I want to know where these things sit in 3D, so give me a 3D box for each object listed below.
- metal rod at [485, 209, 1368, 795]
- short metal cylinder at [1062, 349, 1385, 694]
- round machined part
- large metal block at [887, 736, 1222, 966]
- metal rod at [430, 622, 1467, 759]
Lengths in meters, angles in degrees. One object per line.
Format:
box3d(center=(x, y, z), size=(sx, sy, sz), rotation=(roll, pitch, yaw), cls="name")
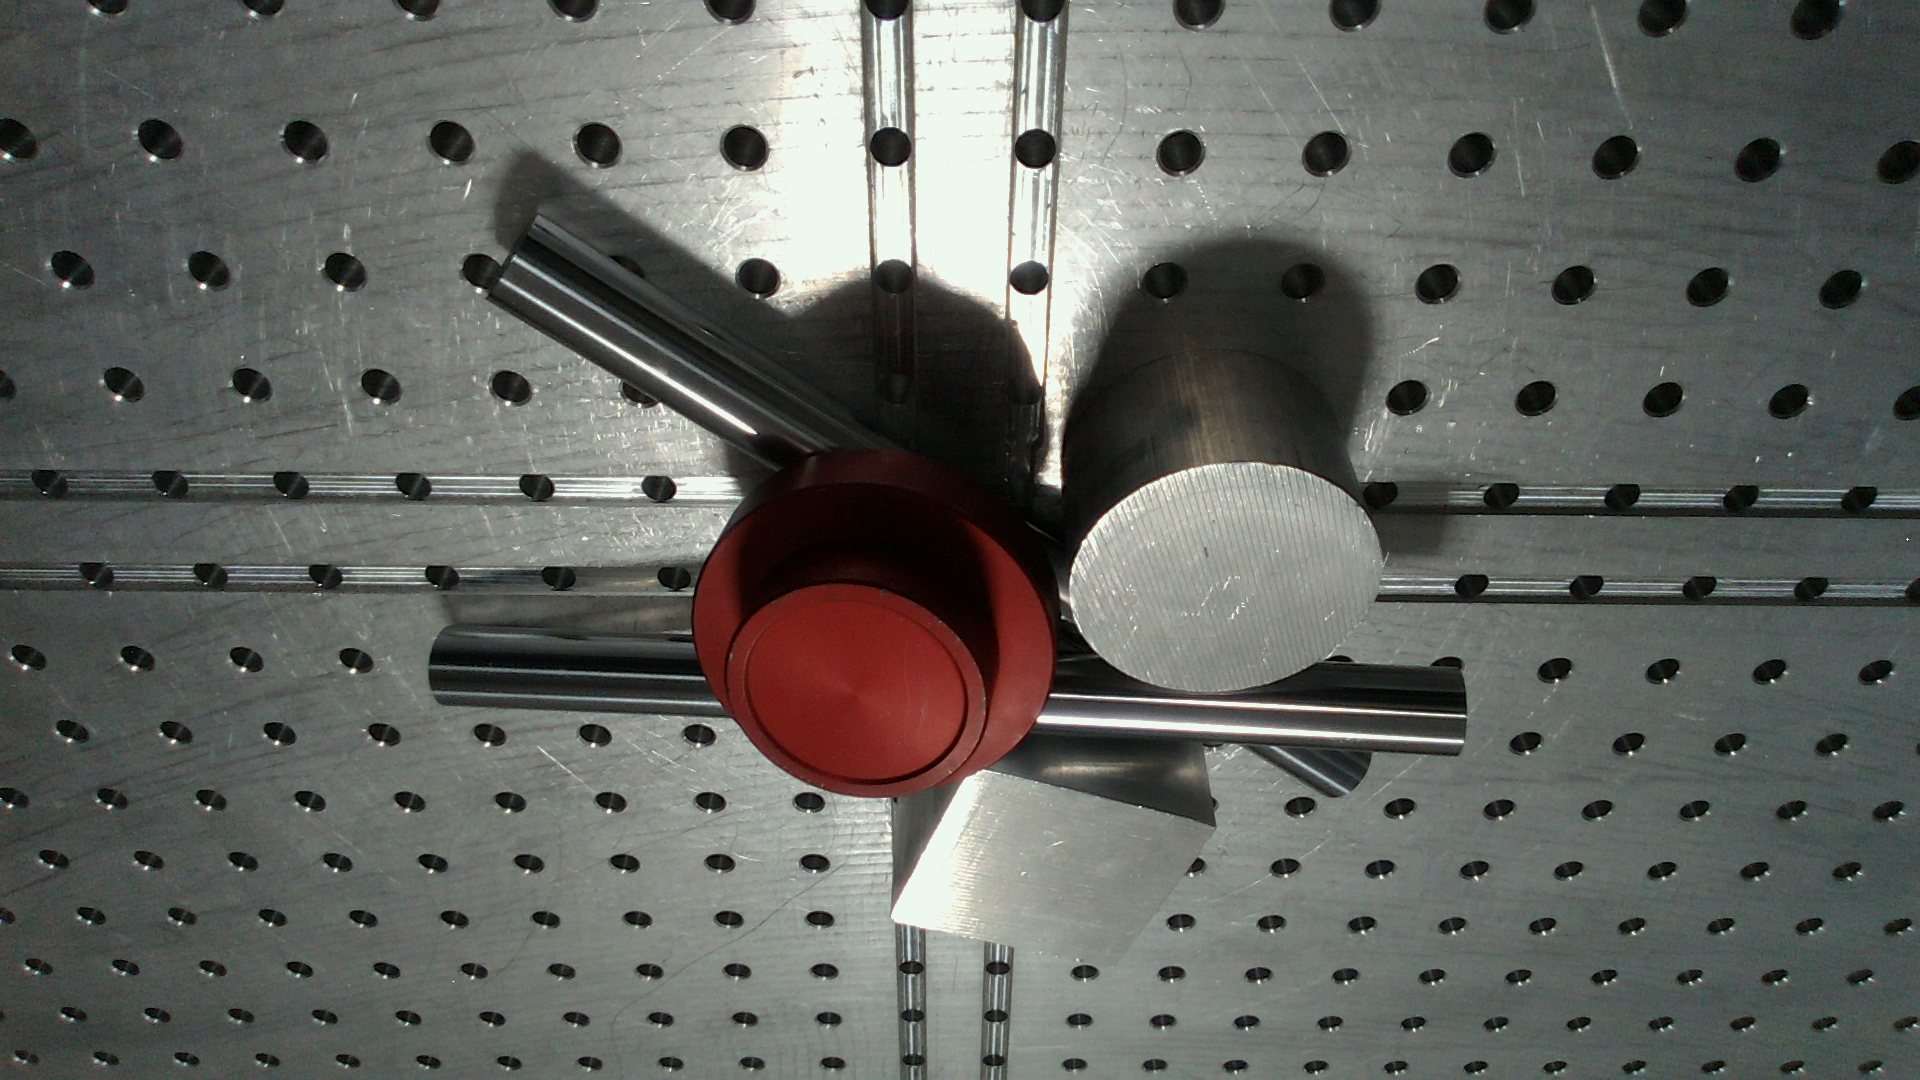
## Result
box3d(center=(0.009, 0.002, 0.395), size=(0.301, 0.025, 0.025), rotation=(31, 123, -24), cls="metal rod")
box3d(center=(0.069, -0.004, 0.373), size=(0.080, 0.050, 0.080), rotation=(0, 130, 0), cls="short metal cylinder")
box3d(center=(-0.024, 0.028, 0.362), size=(0.098, 0.042, 0.098), rotation=(3, 122, 5), cls="round machined part")
box3d(center=(0.028, 0.088, 0.449), size=(0.080, 0.050, 0.080), rotation=(15, 128, -13), cls="large metal block")
box3d(center=(-0.009, 0.043, 0.406), size=(0.300, 0.025, 0.025), rotation=(2, 131, 7), cls="metal rod")
